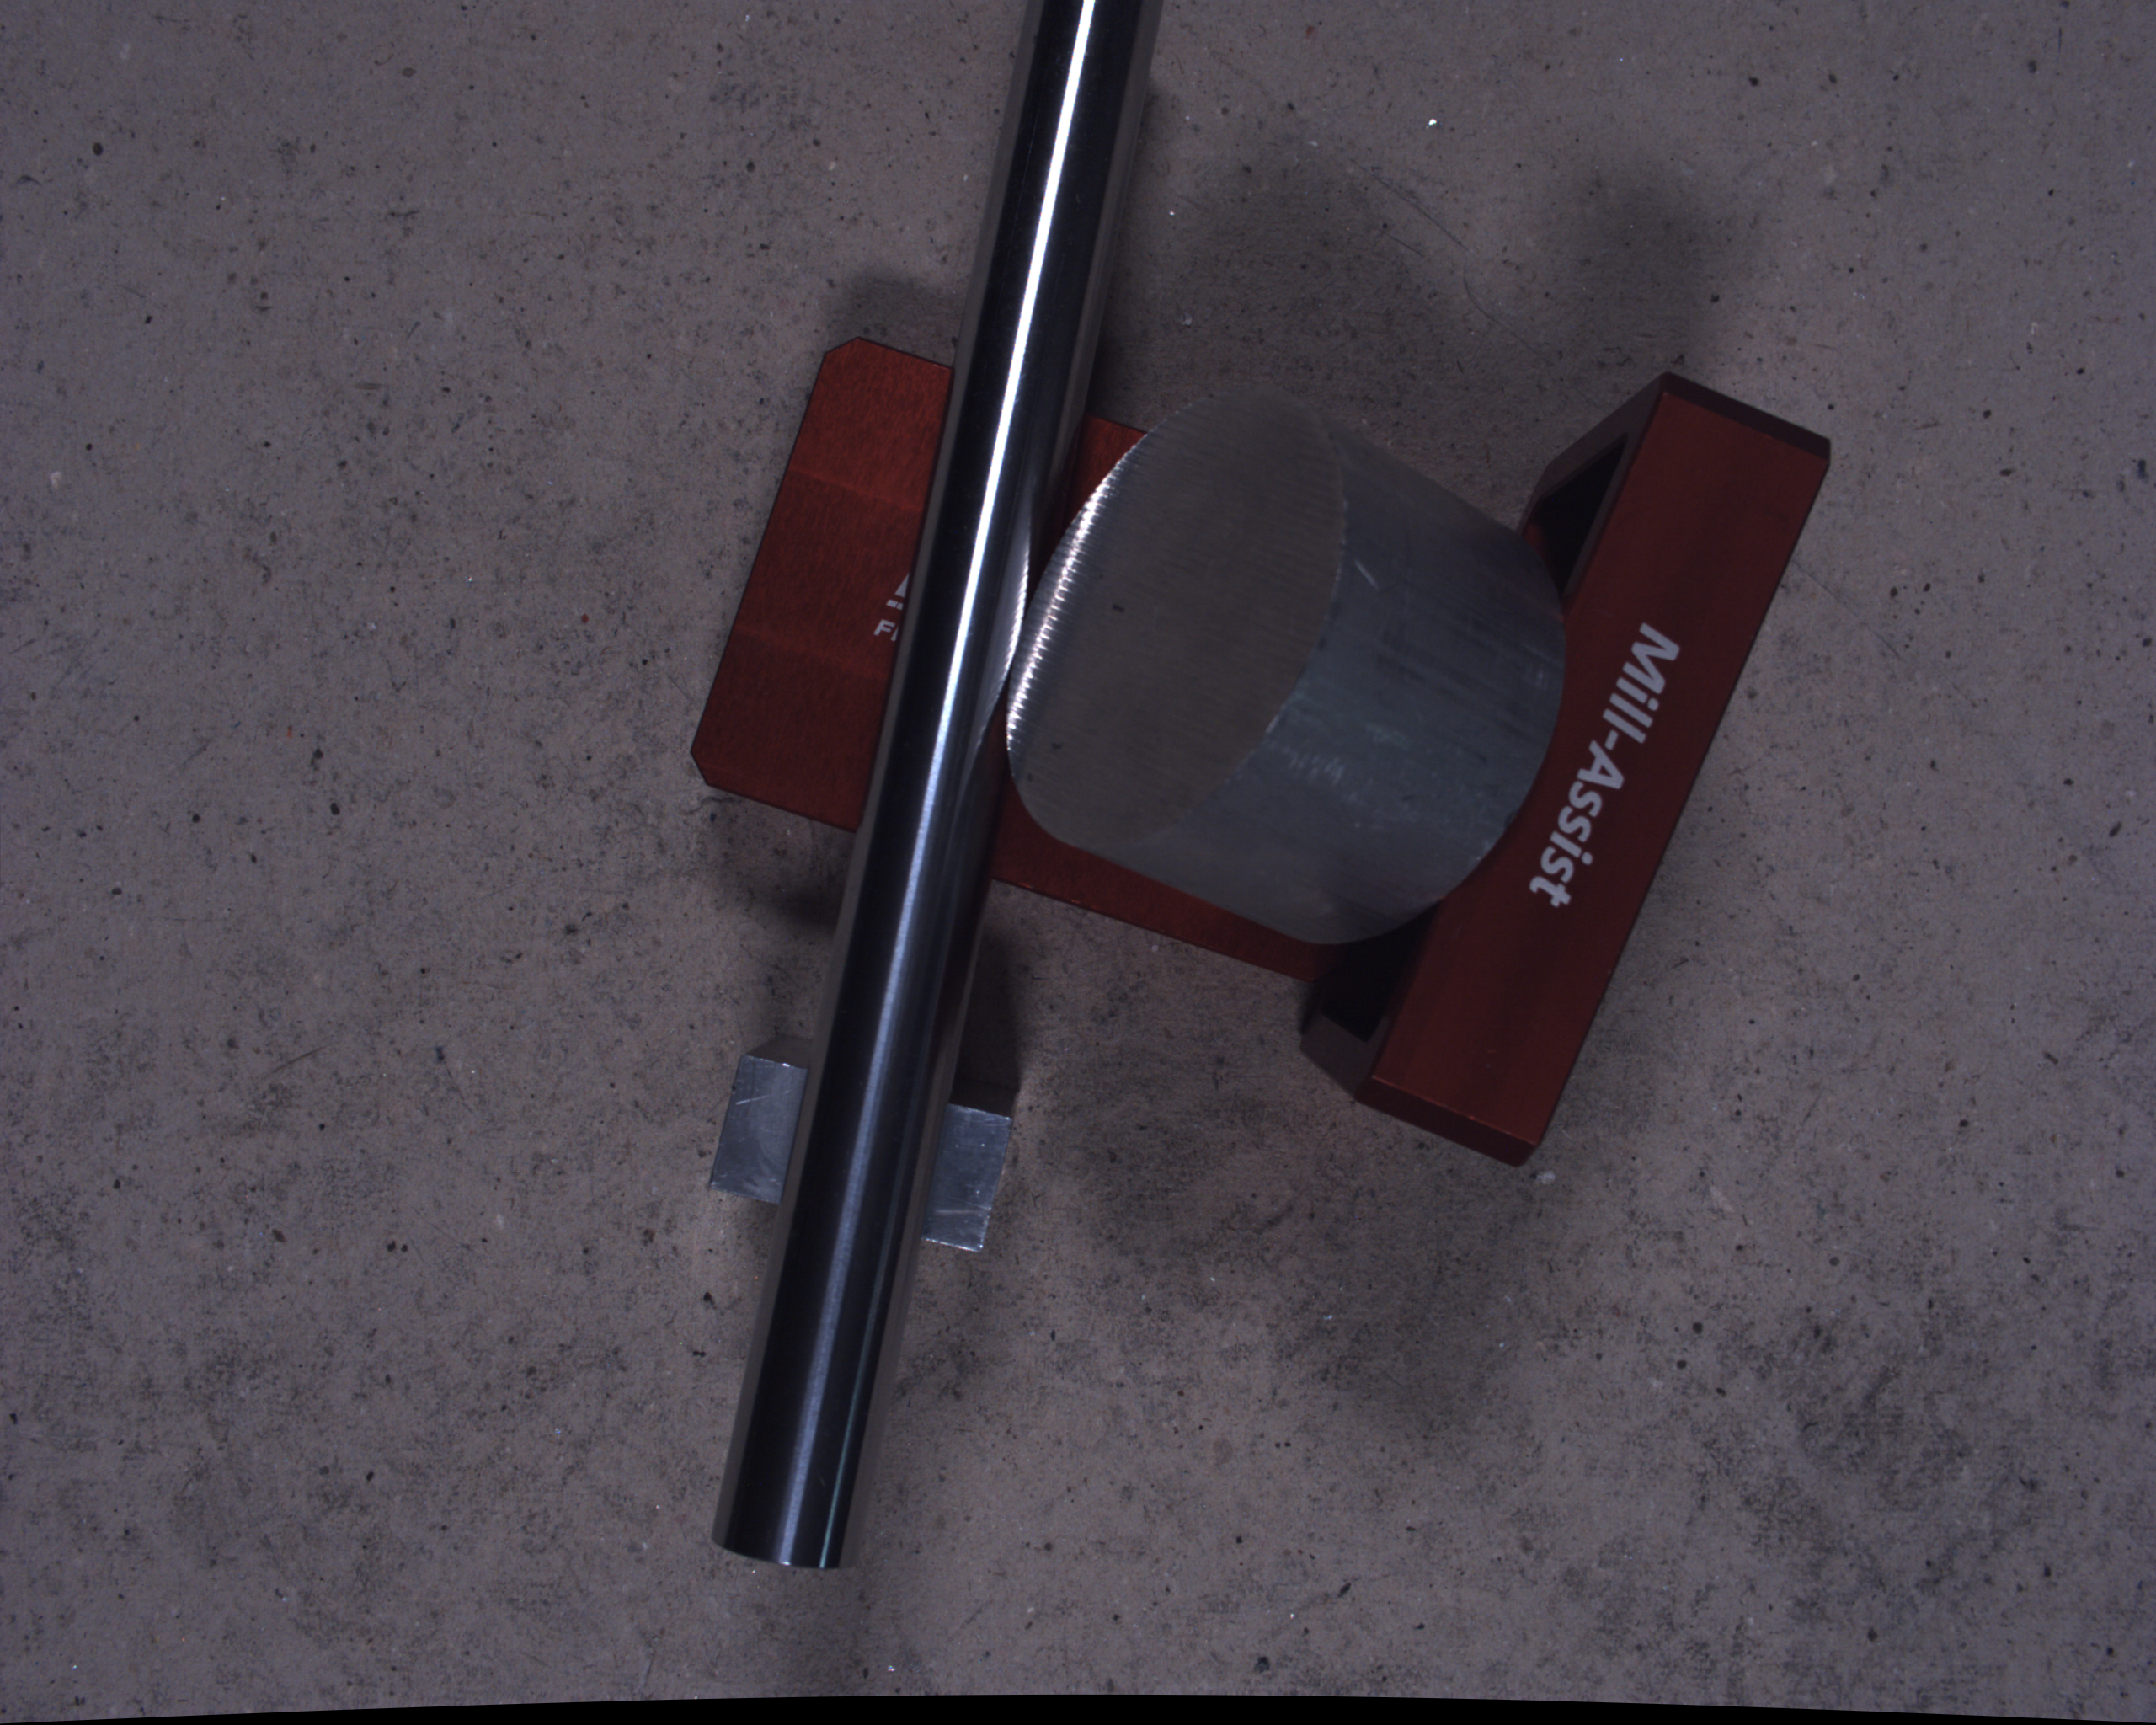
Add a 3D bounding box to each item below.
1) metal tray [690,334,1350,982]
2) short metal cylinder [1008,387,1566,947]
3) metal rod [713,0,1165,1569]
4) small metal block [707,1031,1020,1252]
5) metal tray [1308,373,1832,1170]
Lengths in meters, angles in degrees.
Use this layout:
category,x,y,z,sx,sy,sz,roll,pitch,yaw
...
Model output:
category,x,y,z,sx,sy,sz,roll,pitch,yaw
metal tray,0.002,-0.039,0.408,0.131,0.030,0.090,18,90,-1
short metal cylinder,0.033,-0.031,0.347,0.050,0.080,0.080,23,90,-33
metal rod,-0.021,-0.030,0.372,0.025,0.025,0.299,11,81,-1
small metal block,-0.039,0.052,0.398,0.050,0.050,0.025,13,90,-1
metal tray,0.084,-0.015,0.380,0.030,0.090,0.129,23,90,0
